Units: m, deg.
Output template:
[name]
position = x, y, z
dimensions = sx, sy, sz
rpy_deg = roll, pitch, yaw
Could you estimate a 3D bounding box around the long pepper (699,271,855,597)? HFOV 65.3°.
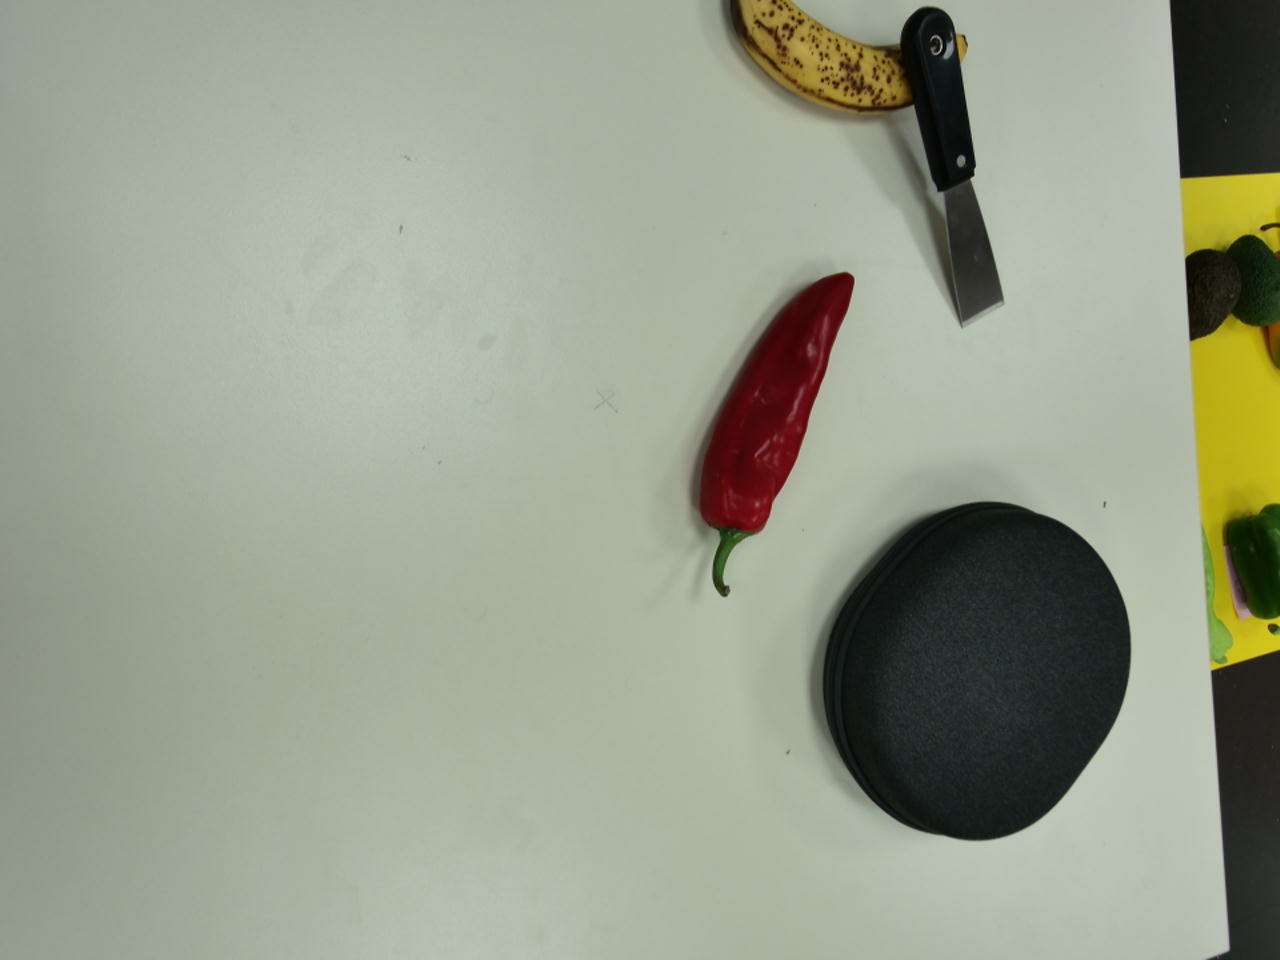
[long pepper]
position = 0.075, -0.035, 0.578
dimensions = 0.050, 0.043, 0.211
rpy_deg = 28, 80, -20
